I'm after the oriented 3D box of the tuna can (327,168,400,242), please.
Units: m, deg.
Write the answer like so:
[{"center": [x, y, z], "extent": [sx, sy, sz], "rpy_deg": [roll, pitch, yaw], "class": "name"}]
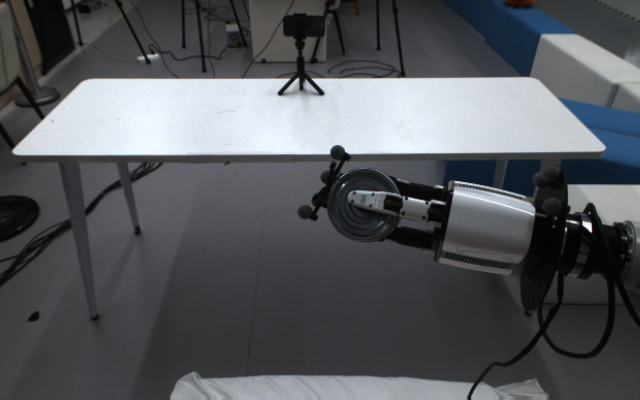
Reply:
[{"center": [0.054, 0.004, 0.559], "extent": [0.085, 0.085, 0.034], "rpy_deg": [9, -5, 10], "class": "tuna can"}]
